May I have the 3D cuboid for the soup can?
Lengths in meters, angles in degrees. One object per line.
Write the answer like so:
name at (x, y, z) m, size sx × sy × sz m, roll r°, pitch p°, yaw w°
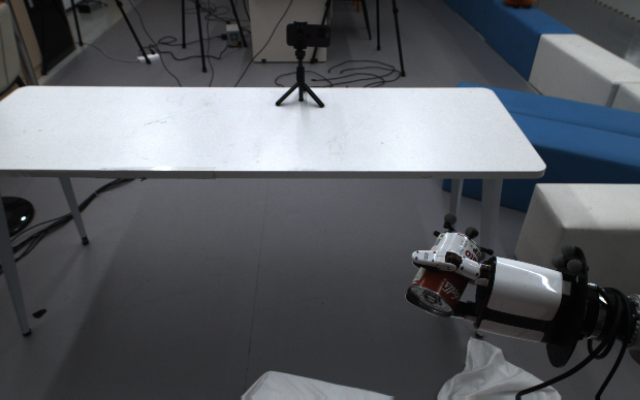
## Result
soup can at (0.177, 0.100, 0.672) m, size 0.067 × 0.067 × 0.101 m, roll 22°, pitch 60°, yaw 26°
